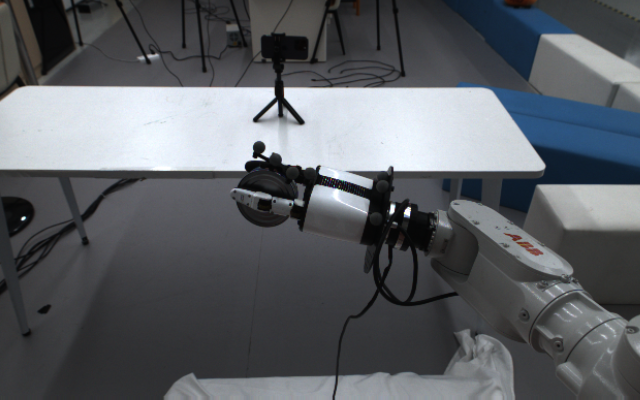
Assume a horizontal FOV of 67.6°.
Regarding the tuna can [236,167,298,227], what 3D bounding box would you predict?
[{"bbox_3d":[-0.074,-0.007,0.695,0.085,0.085,0.034,7,16,7],"label":"tuna can"}]
